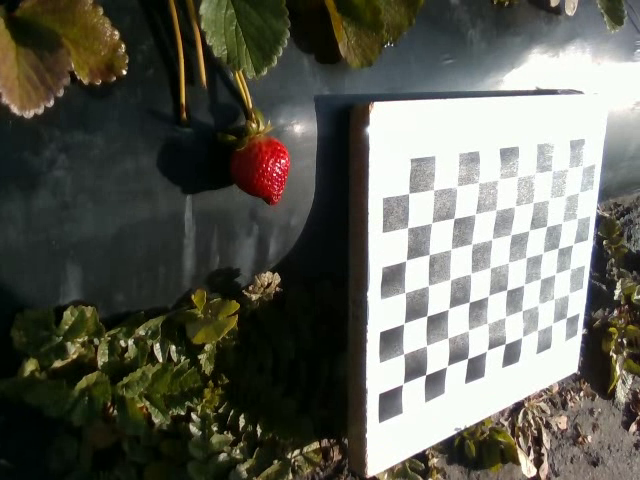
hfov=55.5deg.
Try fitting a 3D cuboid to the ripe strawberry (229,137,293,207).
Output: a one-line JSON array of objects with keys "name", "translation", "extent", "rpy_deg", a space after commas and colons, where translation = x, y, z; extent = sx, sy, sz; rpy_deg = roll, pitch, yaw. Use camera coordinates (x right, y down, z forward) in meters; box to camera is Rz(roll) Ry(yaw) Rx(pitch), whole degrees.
[{"name": "ripe strawberry", "translation": [-0.031, -0.036, 0.331], "extent": [0.040, 0.044, 0.036], "rpy_deg": [-31, 16, -27]}]
